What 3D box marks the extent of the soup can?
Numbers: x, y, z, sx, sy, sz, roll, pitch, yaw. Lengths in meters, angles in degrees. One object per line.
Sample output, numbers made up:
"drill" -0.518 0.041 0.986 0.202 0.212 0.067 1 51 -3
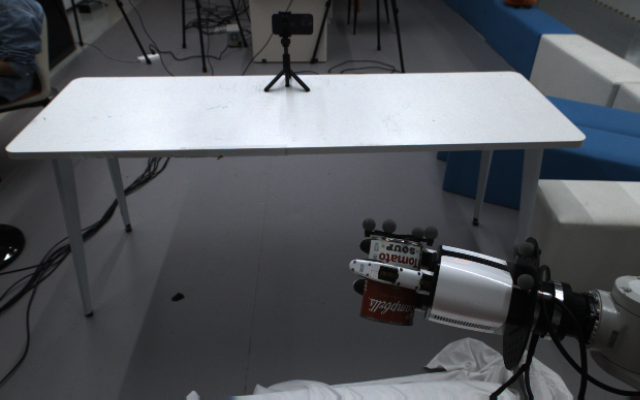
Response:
"soup can" 0.092 0.102 0.611 0.067 0.101 0.067 9 -6 1
